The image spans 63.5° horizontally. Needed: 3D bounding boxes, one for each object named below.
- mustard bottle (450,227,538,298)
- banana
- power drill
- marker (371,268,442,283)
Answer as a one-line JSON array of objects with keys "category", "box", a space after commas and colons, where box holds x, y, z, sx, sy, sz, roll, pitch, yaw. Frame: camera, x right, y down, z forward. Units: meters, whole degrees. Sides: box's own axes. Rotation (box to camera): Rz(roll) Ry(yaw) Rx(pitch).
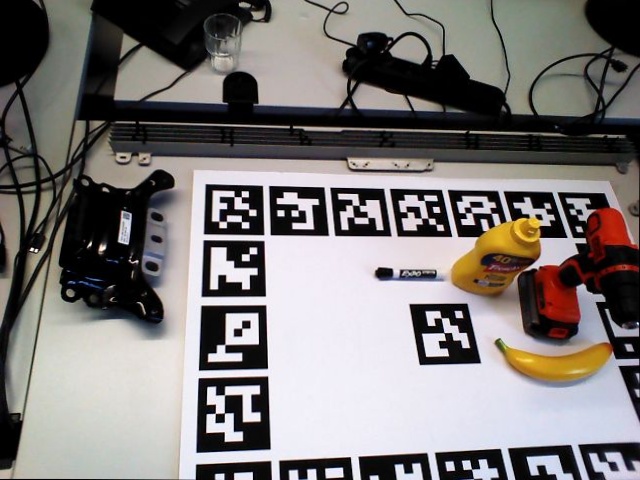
[{"category": "mustard bottle", "box": [0.284, 0.032, 0.816, 0.096, 0.192, 0.058, 11, 62, -4]}, {"category": "banana", "box": [0.375, 0.205, 0.829, 0.198, 0.039, 0.074, 8, 64, -2]}, {"category": "power drill", "box": [0.394, 0.084, 0.786, 0.057, 0.188, 0.183, 14, 59, -3]}, {"category": "marker", "box": [0.147, 0.060, 0.880, 0.121, 0.020, 0.019, 3, 64, -7]}]
